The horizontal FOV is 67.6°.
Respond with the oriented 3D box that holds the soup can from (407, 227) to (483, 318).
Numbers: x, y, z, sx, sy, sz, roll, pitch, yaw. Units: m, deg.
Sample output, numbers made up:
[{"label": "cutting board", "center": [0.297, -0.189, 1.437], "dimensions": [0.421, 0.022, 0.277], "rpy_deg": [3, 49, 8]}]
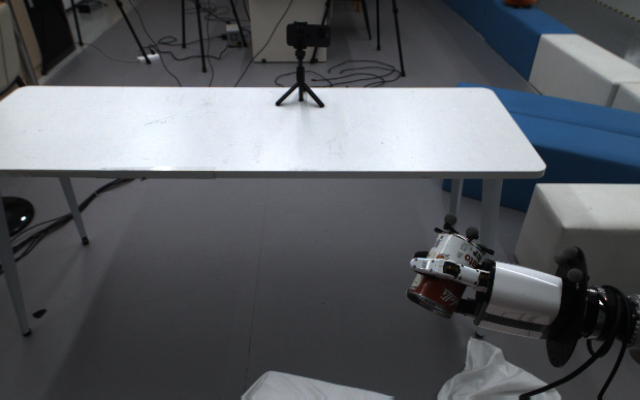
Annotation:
[{"label": "soup can", "center": [0.175, 0.102, 0.671], "dimensions": [0.067, 0.067, 0.101], "rpy_deg": [24, 72, 28]}]
